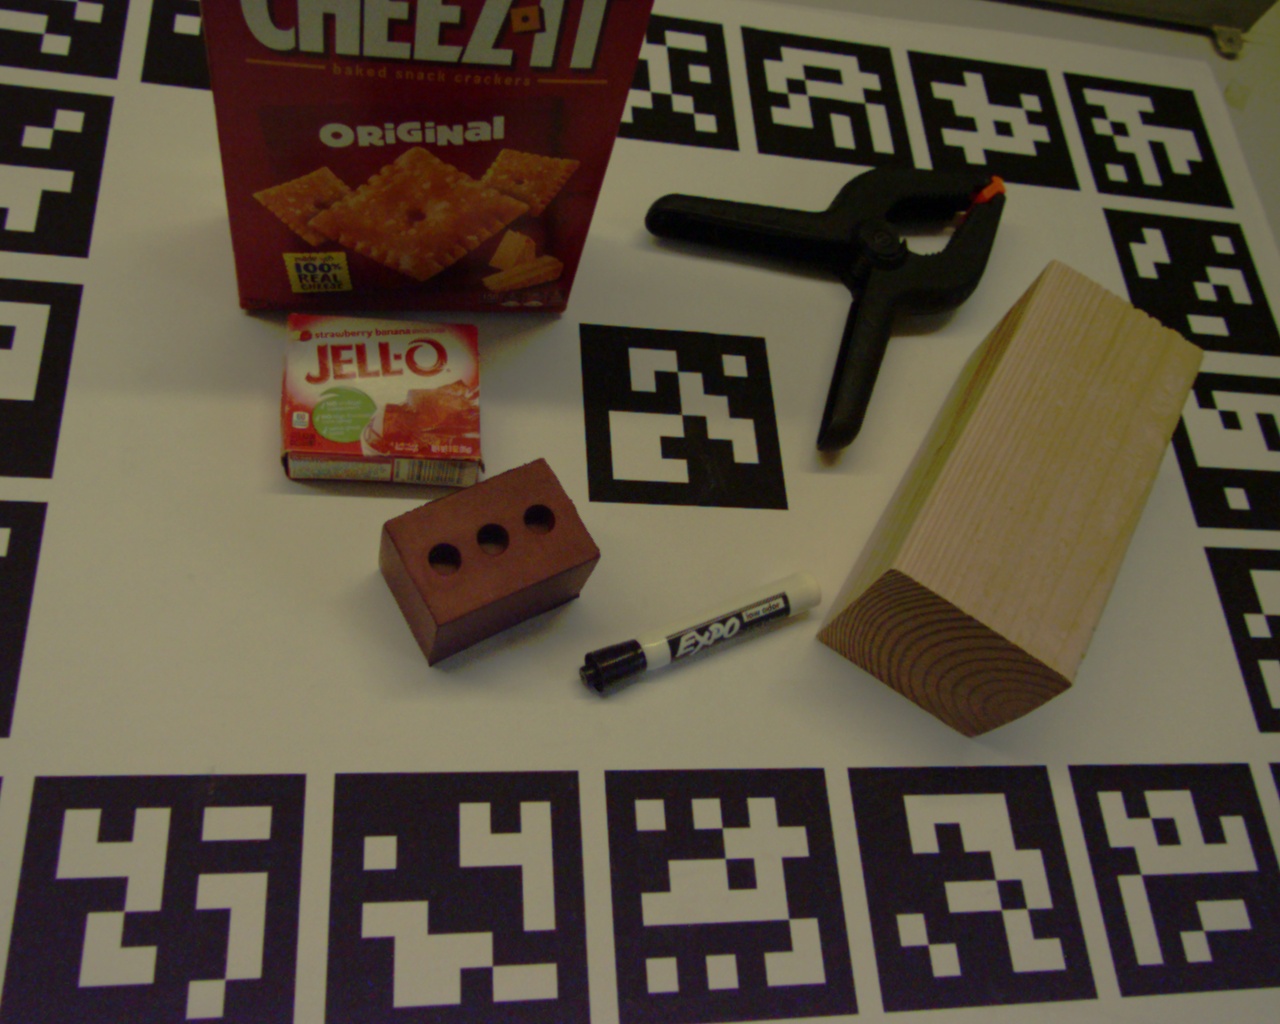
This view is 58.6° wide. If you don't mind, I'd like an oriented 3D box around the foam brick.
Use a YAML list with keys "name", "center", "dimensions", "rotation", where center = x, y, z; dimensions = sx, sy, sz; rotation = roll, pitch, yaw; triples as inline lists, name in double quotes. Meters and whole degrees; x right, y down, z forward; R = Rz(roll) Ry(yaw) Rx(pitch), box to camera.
- name: "foam brick"
  center: [-0.073, 0.026, 0.524]
  dimensions: [0.077, 0.051, 0.053]
  rotation: [-23, 76, -21]

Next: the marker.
- name: "marker"
  center: [0.012, 0.062, 0.545]
  dimensions: [0.120, 0.020, 0.020]
  rotation: [-18, 74, -20]

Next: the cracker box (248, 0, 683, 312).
- name: "cracker box"
  center: [-0.090, -0.176, 0.514]
  dimensions: [0.163, 0.214, 0.072]
  rotation: [-1, 66, -17]

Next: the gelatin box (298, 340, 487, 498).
- name: "gelatin box"
  center: [-0.121, -0.046, 0.560]
  dimensions: [0.089, 0.030, 0.073]
  rotation: [1, 68, -13]

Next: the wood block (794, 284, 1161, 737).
- name: "wood block"
  center: [0.172, -0.005, 0.579]
  dimensions: [0.090, 0.091, 0.205]
  rotation: [32, 61, 4]

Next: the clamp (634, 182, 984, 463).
- name: "clamp"
  center: [0.120, -0.135, 0.650]
  dimensions: [0.201, 0.037, 0.166]
  rotation: [-29, 77, -23]
